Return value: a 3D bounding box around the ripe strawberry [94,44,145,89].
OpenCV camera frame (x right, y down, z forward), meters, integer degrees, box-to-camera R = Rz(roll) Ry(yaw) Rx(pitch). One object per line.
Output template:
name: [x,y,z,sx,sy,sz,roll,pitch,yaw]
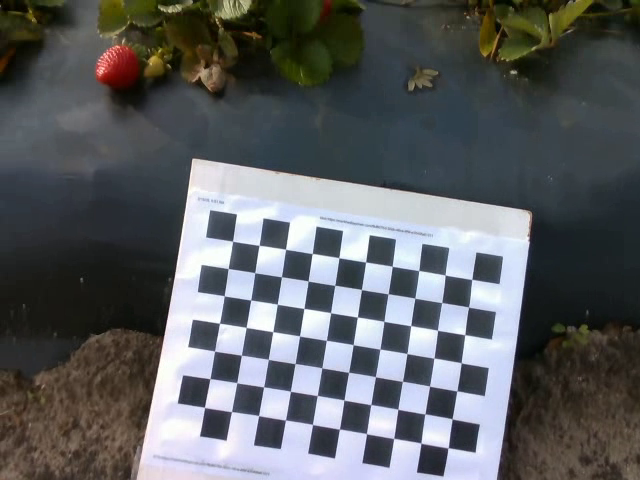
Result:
ripe strawberry: [-0.191,-0.153,0.577,0.045,0.051,0.058,12,35,1]
